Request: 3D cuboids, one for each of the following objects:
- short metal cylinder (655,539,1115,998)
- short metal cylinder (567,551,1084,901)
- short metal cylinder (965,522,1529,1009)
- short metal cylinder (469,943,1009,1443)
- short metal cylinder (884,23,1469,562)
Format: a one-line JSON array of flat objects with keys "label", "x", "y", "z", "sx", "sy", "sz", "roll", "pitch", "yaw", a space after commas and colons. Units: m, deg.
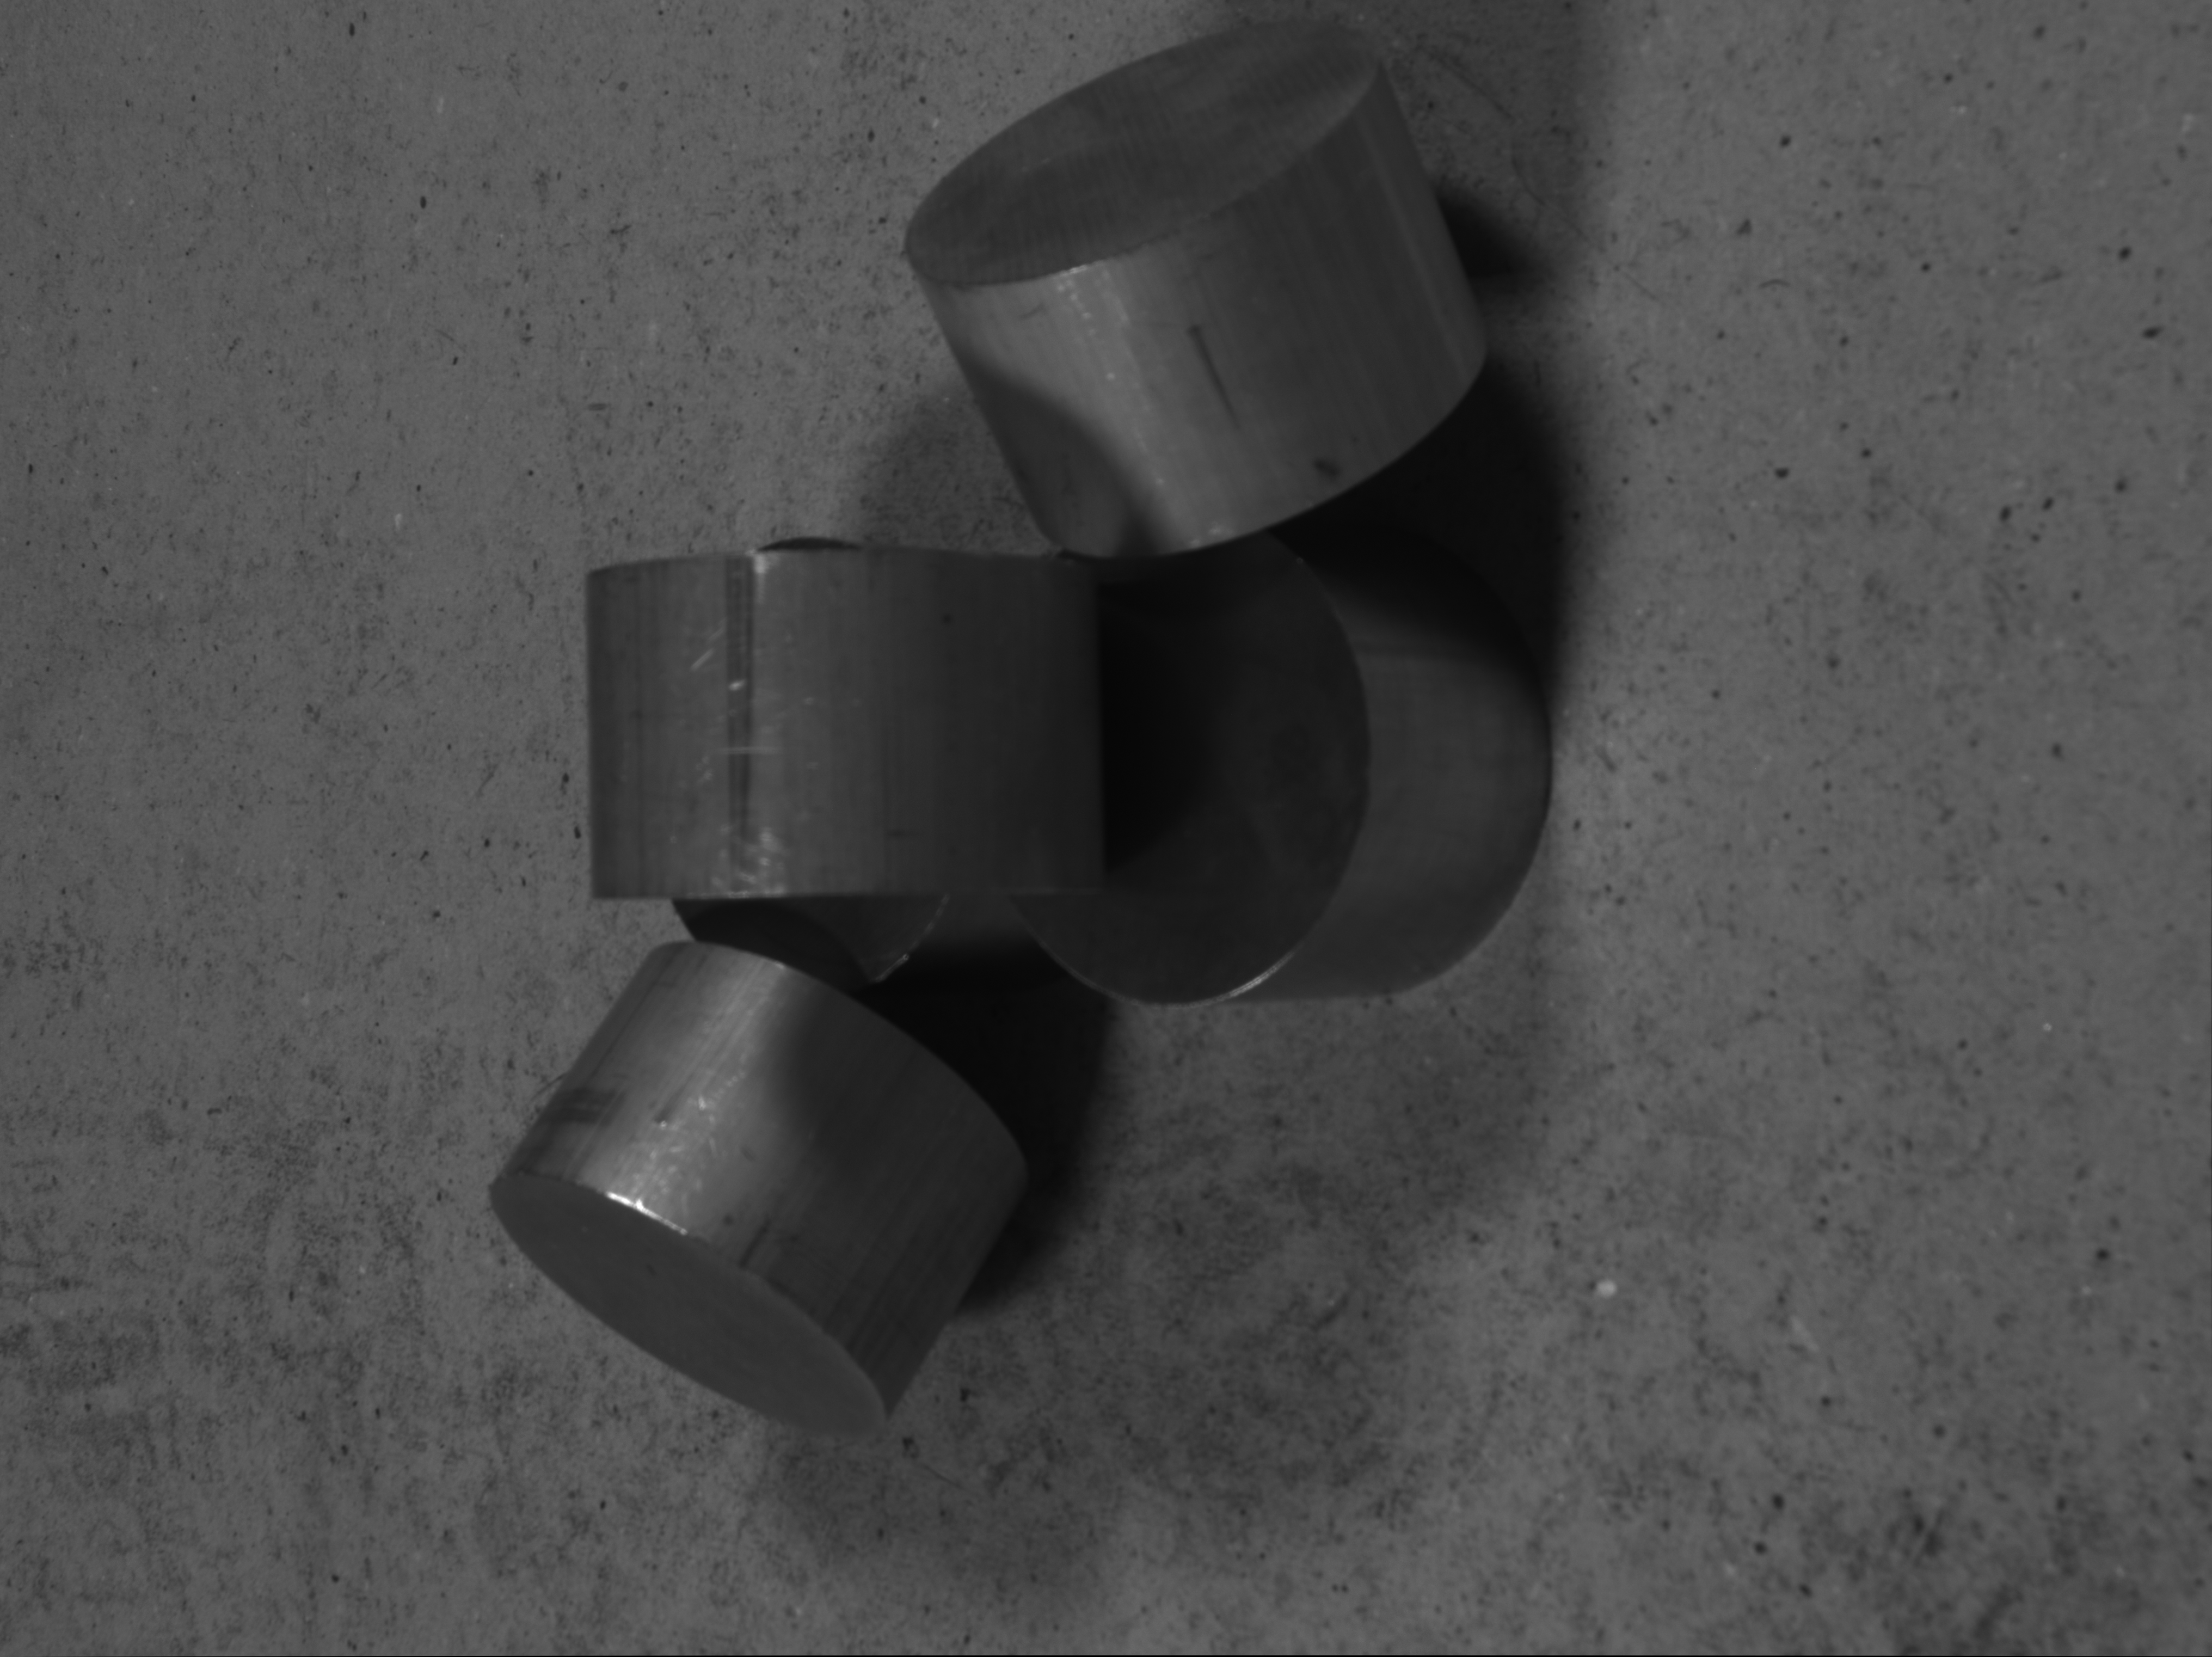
[{"label": "short metal cylinder", "x": -0.040, "y": -0.010, "z": 0.652, "sx": 0.080, "sy": 0.050, "sz": 0.080, "roll": 0, "pitch": 90, "yaw": 39}, {"label": "short metal cylinder", "x": -0.043, "y": -0.014, "z": 0.572, "sx": 0.080, "sy": 0.080, "sz": 0.050, "roll": -2, "pitch": 89, "yaw": 39}, {"label": "short metal cylinder", "x": 0.022, "y": -0.011, "z": 0.602, "sx": 0.080, "sy": 0.050, "sz": 0.080, "roll": 0, "pitch": 90, "yaw": 39}, {"label": "short metal cylinder", "x": -0.064, "y": 0.065, "z": 0.645, "sx": 0.080, "sy": 0.080, "sz": 0.050, "roll": 9, "pitch": 57, "yaw": 39}, {"label": "short metal cylinder", "x": 0.011, "y": -0.086, "z": 0.583, "sx": 0.080, "sy": 0.080, "sz": 0.050, "roll": 1, "pitch": 128, "yaw": 39}]
